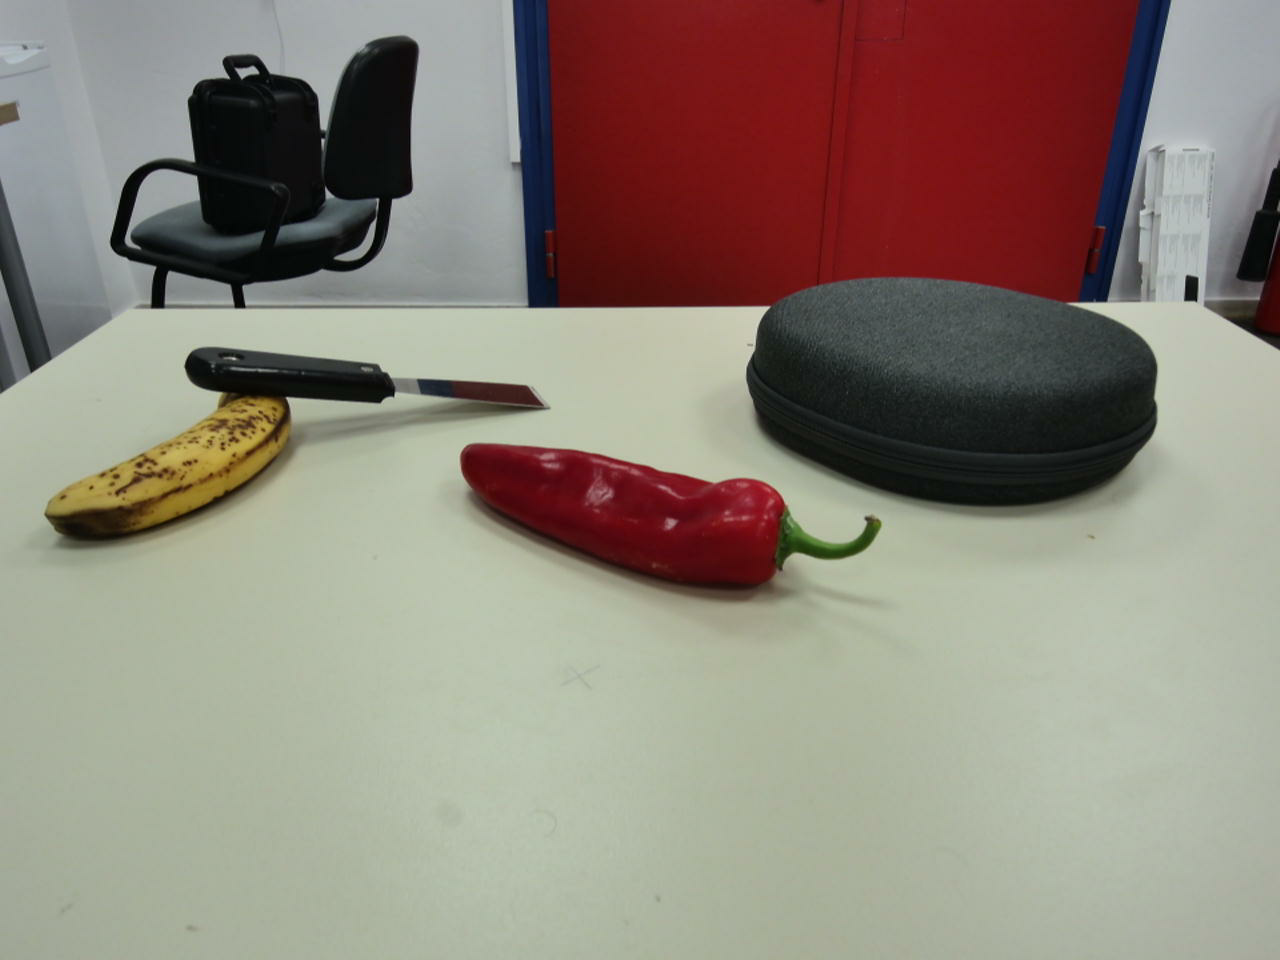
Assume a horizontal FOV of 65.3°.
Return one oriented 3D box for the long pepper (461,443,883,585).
[{"bbox_3d":[-0.002,0.011,0.436,0.211,0.043,0.050,14,28,29],"label":"long pepper"}]
